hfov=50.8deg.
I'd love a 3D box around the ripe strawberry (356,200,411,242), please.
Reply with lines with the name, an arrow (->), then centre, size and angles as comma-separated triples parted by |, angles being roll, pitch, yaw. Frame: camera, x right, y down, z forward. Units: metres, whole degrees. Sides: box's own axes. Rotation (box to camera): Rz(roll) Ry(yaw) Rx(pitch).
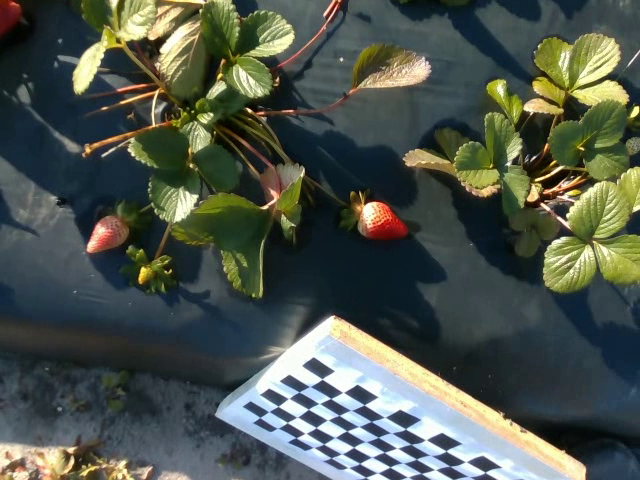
ripe strawberry -> 0.062, -0.015, 0.639 | 0.063, 0.044, 0.045 | 19, -38, -1
